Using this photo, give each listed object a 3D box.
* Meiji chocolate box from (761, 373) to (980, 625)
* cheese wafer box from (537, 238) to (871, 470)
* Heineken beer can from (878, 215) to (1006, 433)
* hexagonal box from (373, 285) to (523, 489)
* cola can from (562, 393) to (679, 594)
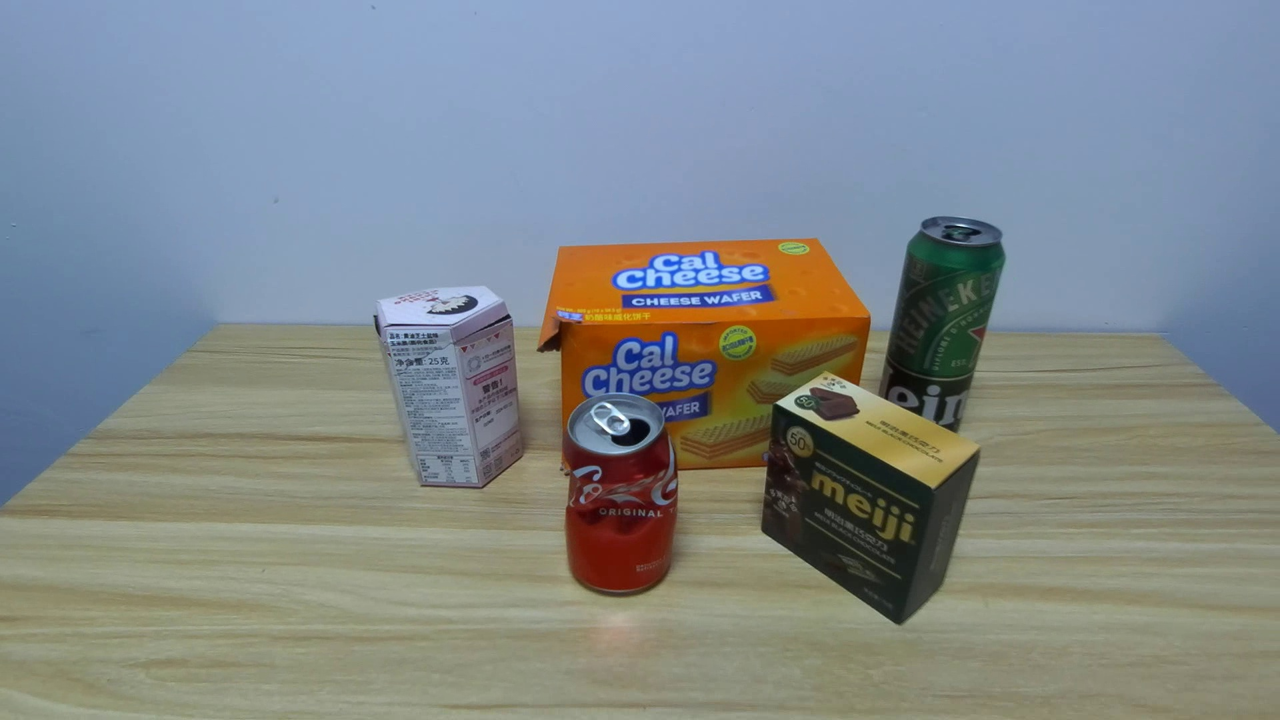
[{"bbox_3d":[0.134,0.081,0.430,0.056,0.109,0.109,-25,39,-34],"label":"Meiji chocolate box"},{"bbox_3d":[0.044,-0.010,0.557,0.227,0.137,0.149,-2,32,-3],"label":"cheese wafer box"},{"bbox_3d":[0.224,-0.018,0.535,0.067,0.169,0.067,0,30,0],"label":"Heineken beer can"},{"bbox_3d":[-0.136,0.018,0.517,0.084,0.135,0.092,19,37,31],"label":"hexagonal box"},{"bbox_3d":[-0.014,0.081,0.426,0.066,0.117,0.065,-8,31,-10],"label":"cola can"}]
